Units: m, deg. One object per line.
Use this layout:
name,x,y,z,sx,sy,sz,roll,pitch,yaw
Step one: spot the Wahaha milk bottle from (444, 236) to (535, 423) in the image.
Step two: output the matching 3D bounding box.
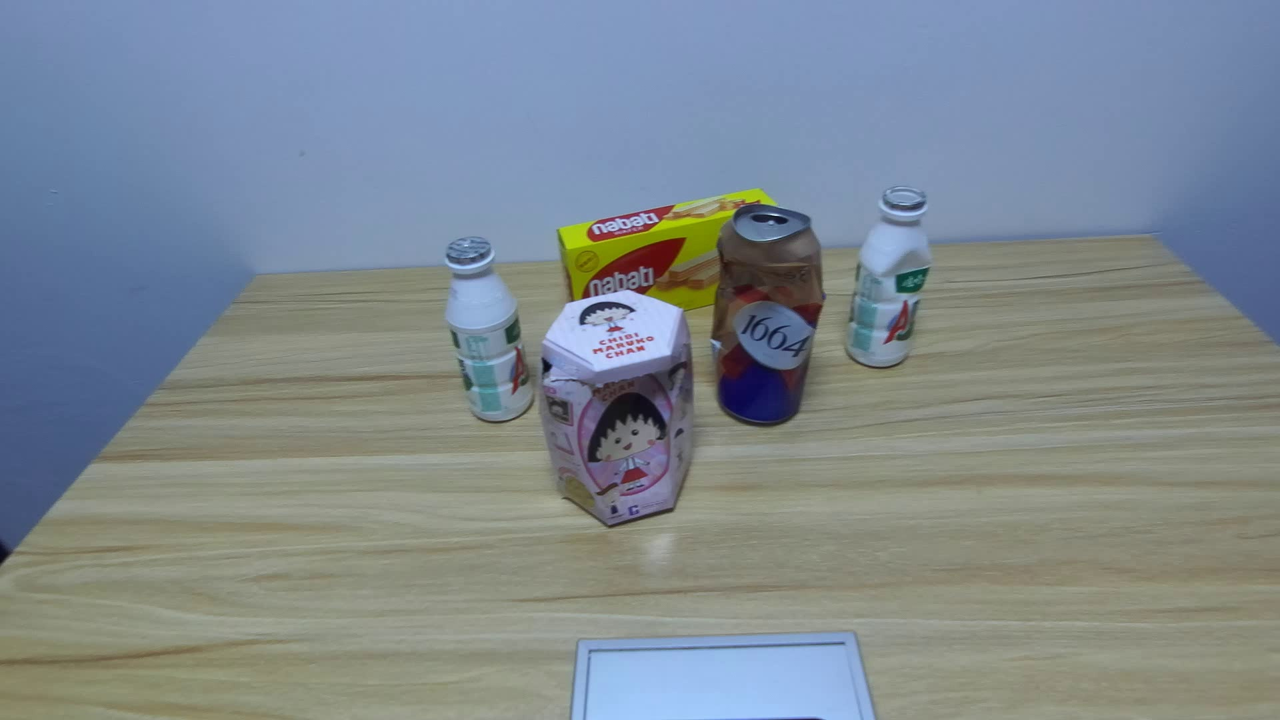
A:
Wahaha milk bottle,-0.117,-0.021,0.538,0.053,0.147,0.053,-3,36,2

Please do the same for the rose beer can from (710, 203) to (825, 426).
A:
rose beer can,0.090,-0.029,0.513,0.073,0.162,0.068,-1,35,1

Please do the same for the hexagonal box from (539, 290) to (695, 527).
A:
hexagonal box,-0.015,0.033,0.468,0.091,0.135,0.090,11,37,20

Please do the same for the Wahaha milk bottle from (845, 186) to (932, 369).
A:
Wahaha milk bottle,0.198,-0.063,0.559,0.056,0.148,0.056,-2,39,2

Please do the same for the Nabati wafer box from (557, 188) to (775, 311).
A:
Nabati wafer box,0.031,-0.091,0.656,0.203,0.093,0.042,-14,38,-12
